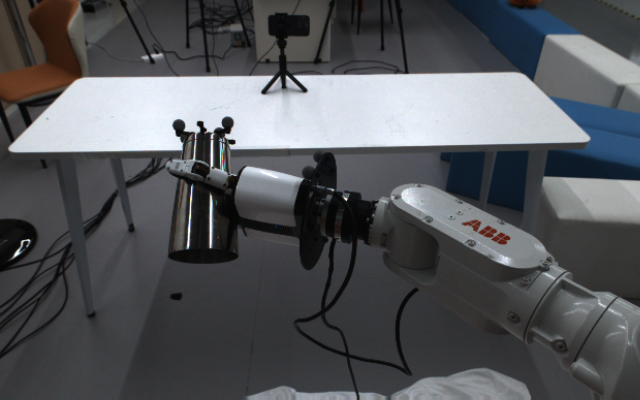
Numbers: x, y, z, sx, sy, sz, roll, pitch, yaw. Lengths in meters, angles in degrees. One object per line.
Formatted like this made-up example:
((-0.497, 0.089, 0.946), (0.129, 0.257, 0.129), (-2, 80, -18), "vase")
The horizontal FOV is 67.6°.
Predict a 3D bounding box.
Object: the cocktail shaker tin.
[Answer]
((-0.161, -0.004, 0.670), (0.093, 0.093, 0.170), (-2, 70, -5), "cocktail shaker tin")
